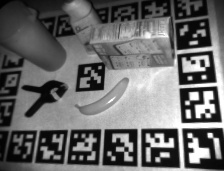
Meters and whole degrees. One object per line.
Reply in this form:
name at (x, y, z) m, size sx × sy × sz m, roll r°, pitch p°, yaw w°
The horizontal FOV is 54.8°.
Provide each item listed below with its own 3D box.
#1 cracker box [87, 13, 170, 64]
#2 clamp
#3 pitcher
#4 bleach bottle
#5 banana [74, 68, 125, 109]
cracker box at (0.054, -0.134, 0.630) m, size 0.212 × 0.166 × 0.072 m, roll -3°, pitch 66°, yaw 19°
clamp at (-0.240, 0.008, 0.759) m, size 0.164 × 0.037 × 0.121 m, roll -19°, pitch 64°, yaw 8°
pitcher at (-0.284, -0.158, 0.696) m, size 0.188 × 0.245 × 0.132 m, roll -21°, pitch 64°, yaw 7°
bleach bottle at (-0.098, -0.202, 0.674) m, size 0.102 × 0.253 × 0.067 m, roll -5°, pitch 68°, yaw 18°
banana at (-0.030, 0.017, 0.695) m, size 0.197 × 0.039 × 0.073 m, roll -36°, pitch 63°, yaw 3°
